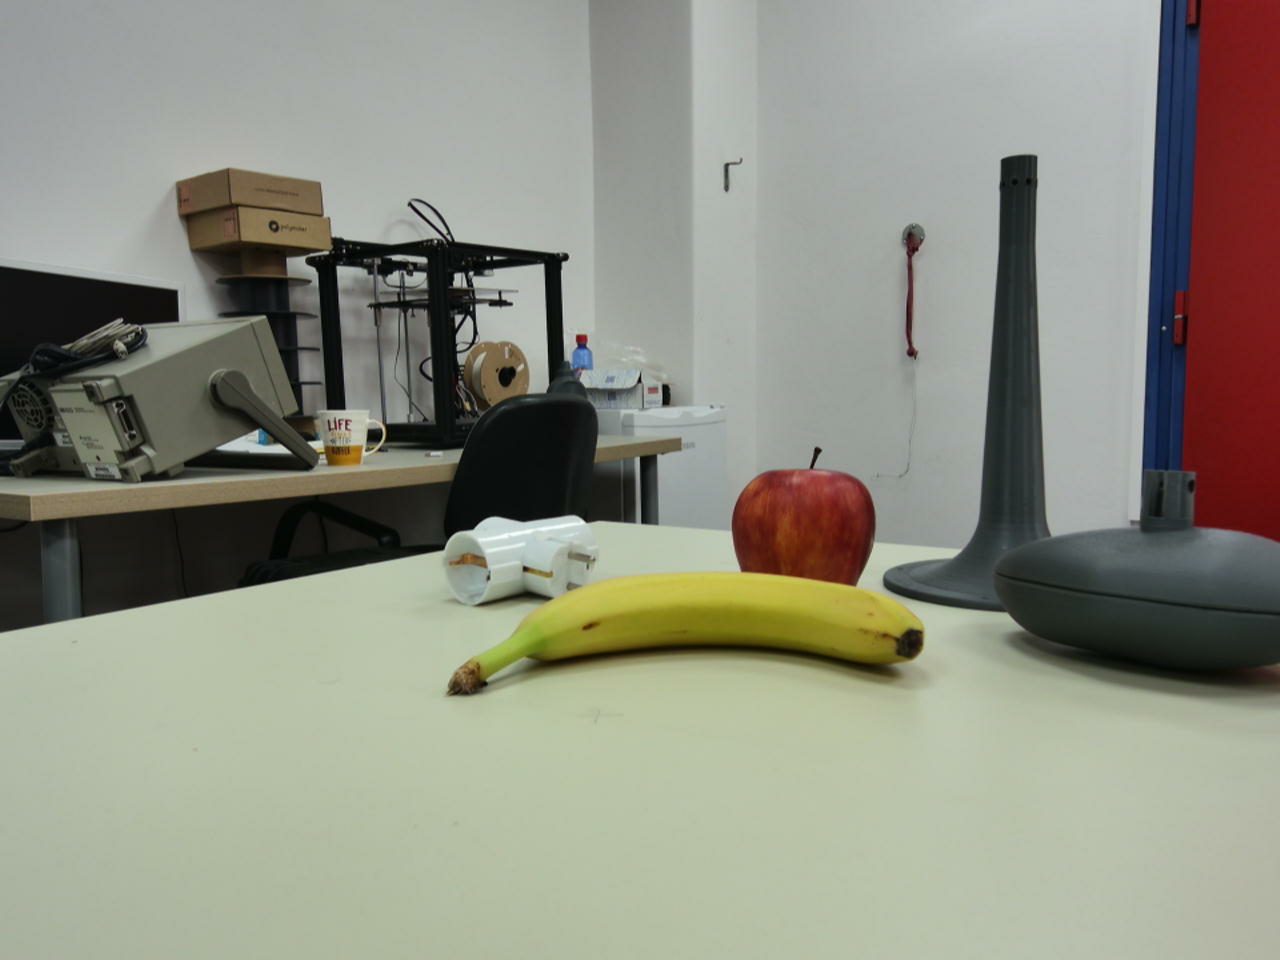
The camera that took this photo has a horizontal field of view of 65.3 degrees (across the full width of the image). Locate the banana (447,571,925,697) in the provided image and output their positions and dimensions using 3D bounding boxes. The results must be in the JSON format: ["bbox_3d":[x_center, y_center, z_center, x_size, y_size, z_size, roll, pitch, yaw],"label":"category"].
[{"bbox_3d":[0.019,0.066,0.453,0.196,0.041,0.094,0,3,2],"label":"banana"}]
